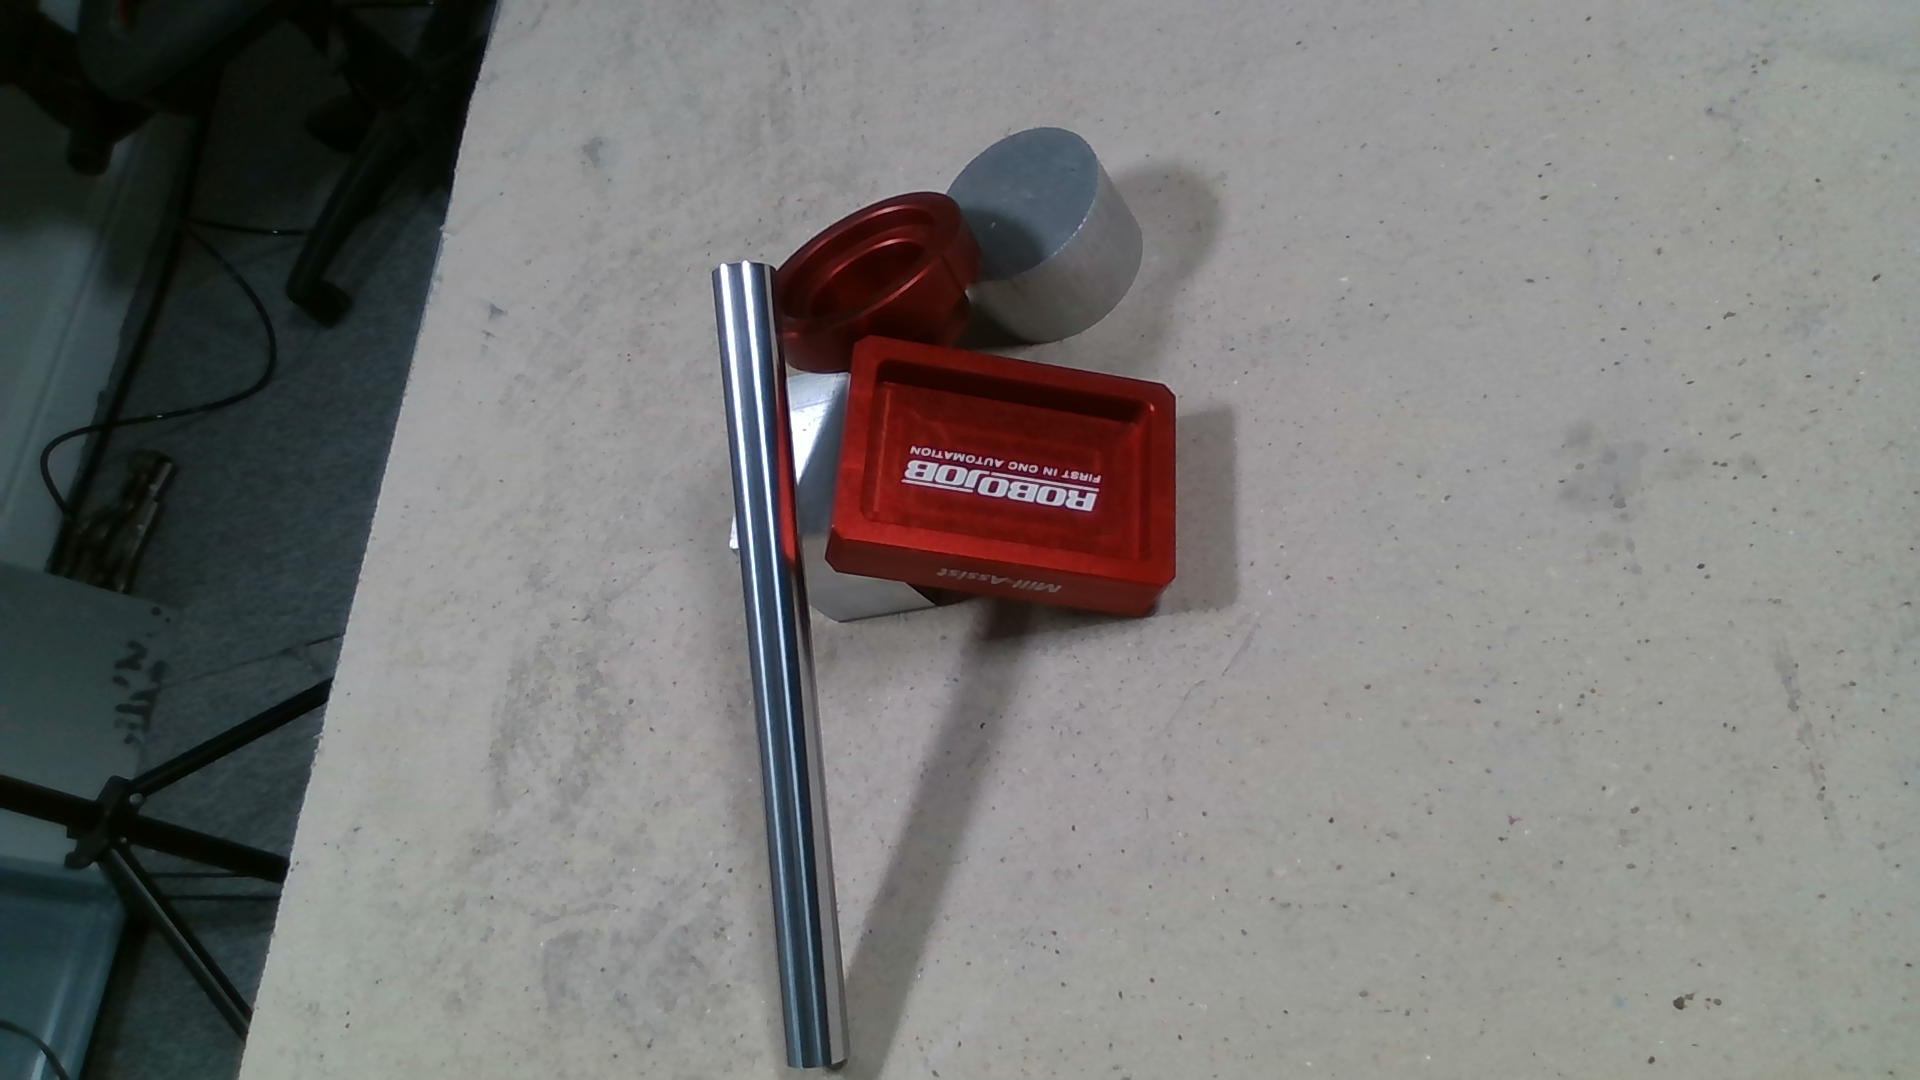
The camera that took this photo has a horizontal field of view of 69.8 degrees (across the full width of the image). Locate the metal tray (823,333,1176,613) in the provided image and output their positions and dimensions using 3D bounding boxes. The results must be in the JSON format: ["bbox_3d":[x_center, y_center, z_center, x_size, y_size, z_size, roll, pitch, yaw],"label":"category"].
[{"bbox_3d":[0.017,-0.026,0.536,0.130,0.030,0.090,8,64,-8],"label":"metal tray"}]

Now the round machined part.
[{"bbox_3d":[-0.035,-0.104,0.595,0.098,0.042,0.098,-20,37,16],"label":"round machined part"}]

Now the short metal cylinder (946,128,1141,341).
[{"bbox_3d":[0.035,-0.137,0.620,0.080,0.050,0.080,-14,59,25],"label":"short metal cylinder"}]

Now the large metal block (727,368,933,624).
[{"bbox_3d":[-0.050,-0.019,0.590,0.050,0.080,0.080,-10,61,27],"label":"large metal block"}]

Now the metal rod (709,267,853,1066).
[{"bbox_3d":[-0.069,0.045,0.528,0.025,0.025,0.300,-9,86,28],"label":"metal rod"}]
